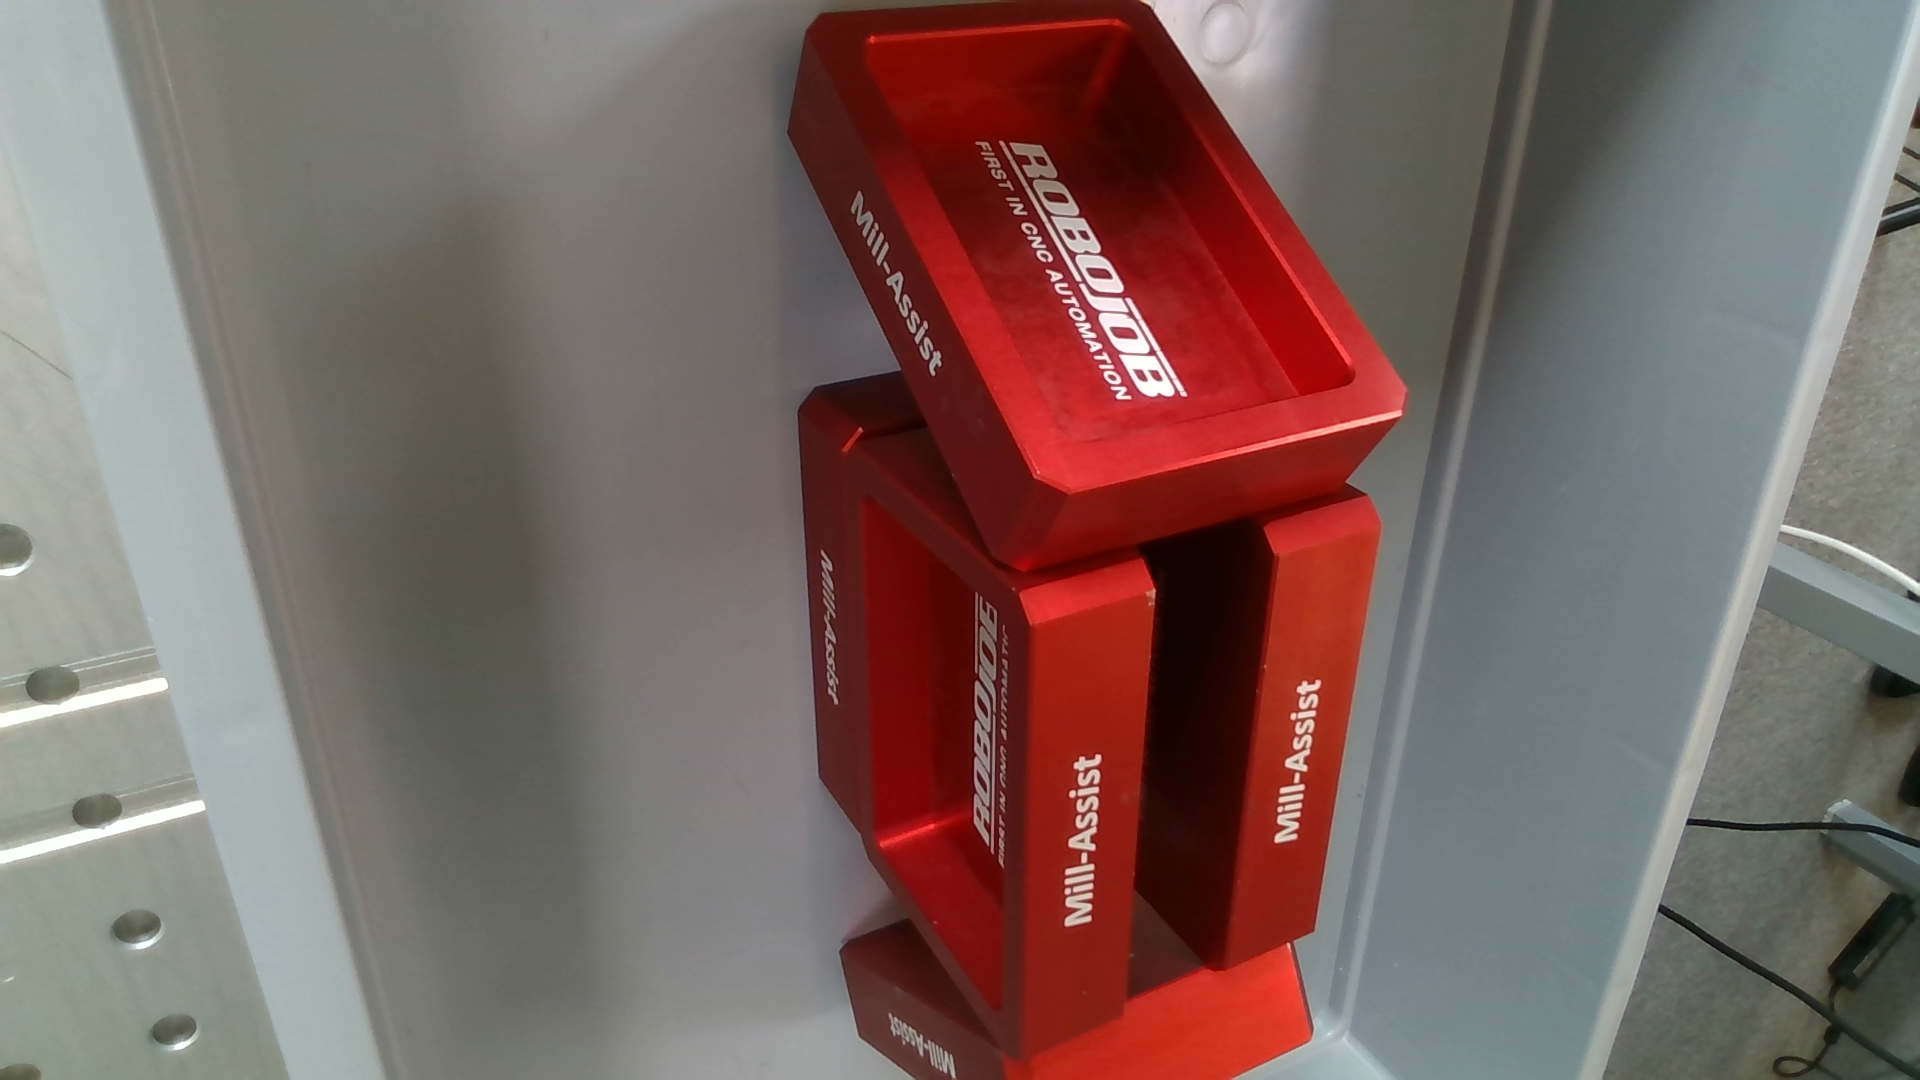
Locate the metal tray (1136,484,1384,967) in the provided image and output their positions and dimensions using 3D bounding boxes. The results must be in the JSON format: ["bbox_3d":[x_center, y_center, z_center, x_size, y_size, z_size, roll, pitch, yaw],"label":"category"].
[{"bbox_3d":[0.059,0.033,0.362,0.030,0.090,0.130,-14,122,-25],"label":"metal tray"}]

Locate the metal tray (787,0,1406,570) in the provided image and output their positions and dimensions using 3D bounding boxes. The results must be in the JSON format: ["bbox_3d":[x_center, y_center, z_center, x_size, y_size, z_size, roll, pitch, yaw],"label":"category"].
[{"bbox_3d":[0.026,-0.063,0.305,0.090,0.130,0.030,-14,153,-24],"label":"metal tray"}]

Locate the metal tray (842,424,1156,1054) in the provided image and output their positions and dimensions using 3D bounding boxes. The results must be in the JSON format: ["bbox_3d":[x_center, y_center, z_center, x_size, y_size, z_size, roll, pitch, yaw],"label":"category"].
[{"bbox_3d":[0.006,0.047,0.336,0.030,0.090,0.130,-15,122,-25],"label":"metal tray"}]

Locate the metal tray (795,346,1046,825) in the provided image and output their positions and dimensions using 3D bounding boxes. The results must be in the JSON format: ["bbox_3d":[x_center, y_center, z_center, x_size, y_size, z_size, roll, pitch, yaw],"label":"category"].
[{"bbox_3d":[0.003,0.014,0.395,0.090,0.030,0.130,-15,122,-25],"label":"metal tray"}]

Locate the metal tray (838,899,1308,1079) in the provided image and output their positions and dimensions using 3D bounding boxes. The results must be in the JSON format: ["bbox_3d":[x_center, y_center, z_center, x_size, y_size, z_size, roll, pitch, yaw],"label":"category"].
[{"bbox_3d":[0.028,0.132,0.411,0.090,0.130,0.030,-14,92,-25],"label":"metal tray"}]
